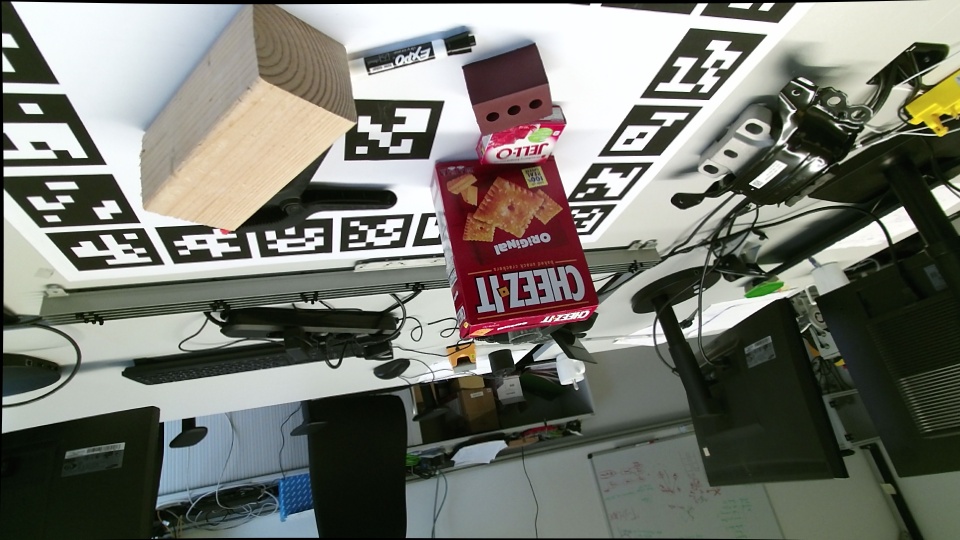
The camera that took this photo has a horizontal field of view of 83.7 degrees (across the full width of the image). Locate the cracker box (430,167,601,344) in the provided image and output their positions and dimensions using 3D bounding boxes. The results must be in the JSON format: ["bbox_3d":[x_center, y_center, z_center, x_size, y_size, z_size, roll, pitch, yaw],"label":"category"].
[{"bbox_3d":[0.038,-0.024,0.670,0.165,0.212,0.072,-6,154,-15],"label":"cracker box"}]

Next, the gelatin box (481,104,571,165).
[{"bbox_3d":[0.053,-0.159,0.633,0.090,0.030,0.073,-6,151,-19],"label":"gelatin box"}]

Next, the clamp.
[{"bbox_3d":[-0.211,-0.080,0.632,0.203,0.036,0.166,-20,153,8],"label":"clamp"}]

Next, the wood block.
[{"bbox_3d":[-0.204,-0.129,0.484,0.206,0.090,0.090,-29,154,31],"label":"wood block"}]

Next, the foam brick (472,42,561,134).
[{"bbox_3d":[0.038,-0.183,0.545,0.078,0.051,0.053,-17,153,3],"label":"foam brick"}]

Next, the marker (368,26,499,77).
[{"bbox_3d":[-0.042,-0.203,0.496,0.121,0.019,0.020,-15,153,-2],"label":"marker"}]
